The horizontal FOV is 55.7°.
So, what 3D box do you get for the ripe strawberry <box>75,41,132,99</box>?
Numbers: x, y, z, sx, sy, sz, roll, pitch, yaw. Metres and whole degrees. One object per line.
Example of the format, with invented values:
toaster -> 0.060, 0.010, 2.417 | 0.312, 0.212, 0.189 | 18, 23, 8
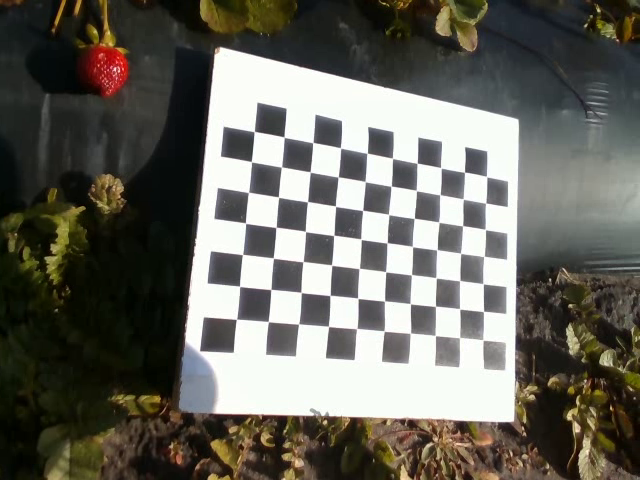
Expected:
ripe strawberry -> -0.148, -0.112, 0.409 | 0.040, 0.044, 0.037 | -13, -16, -22
